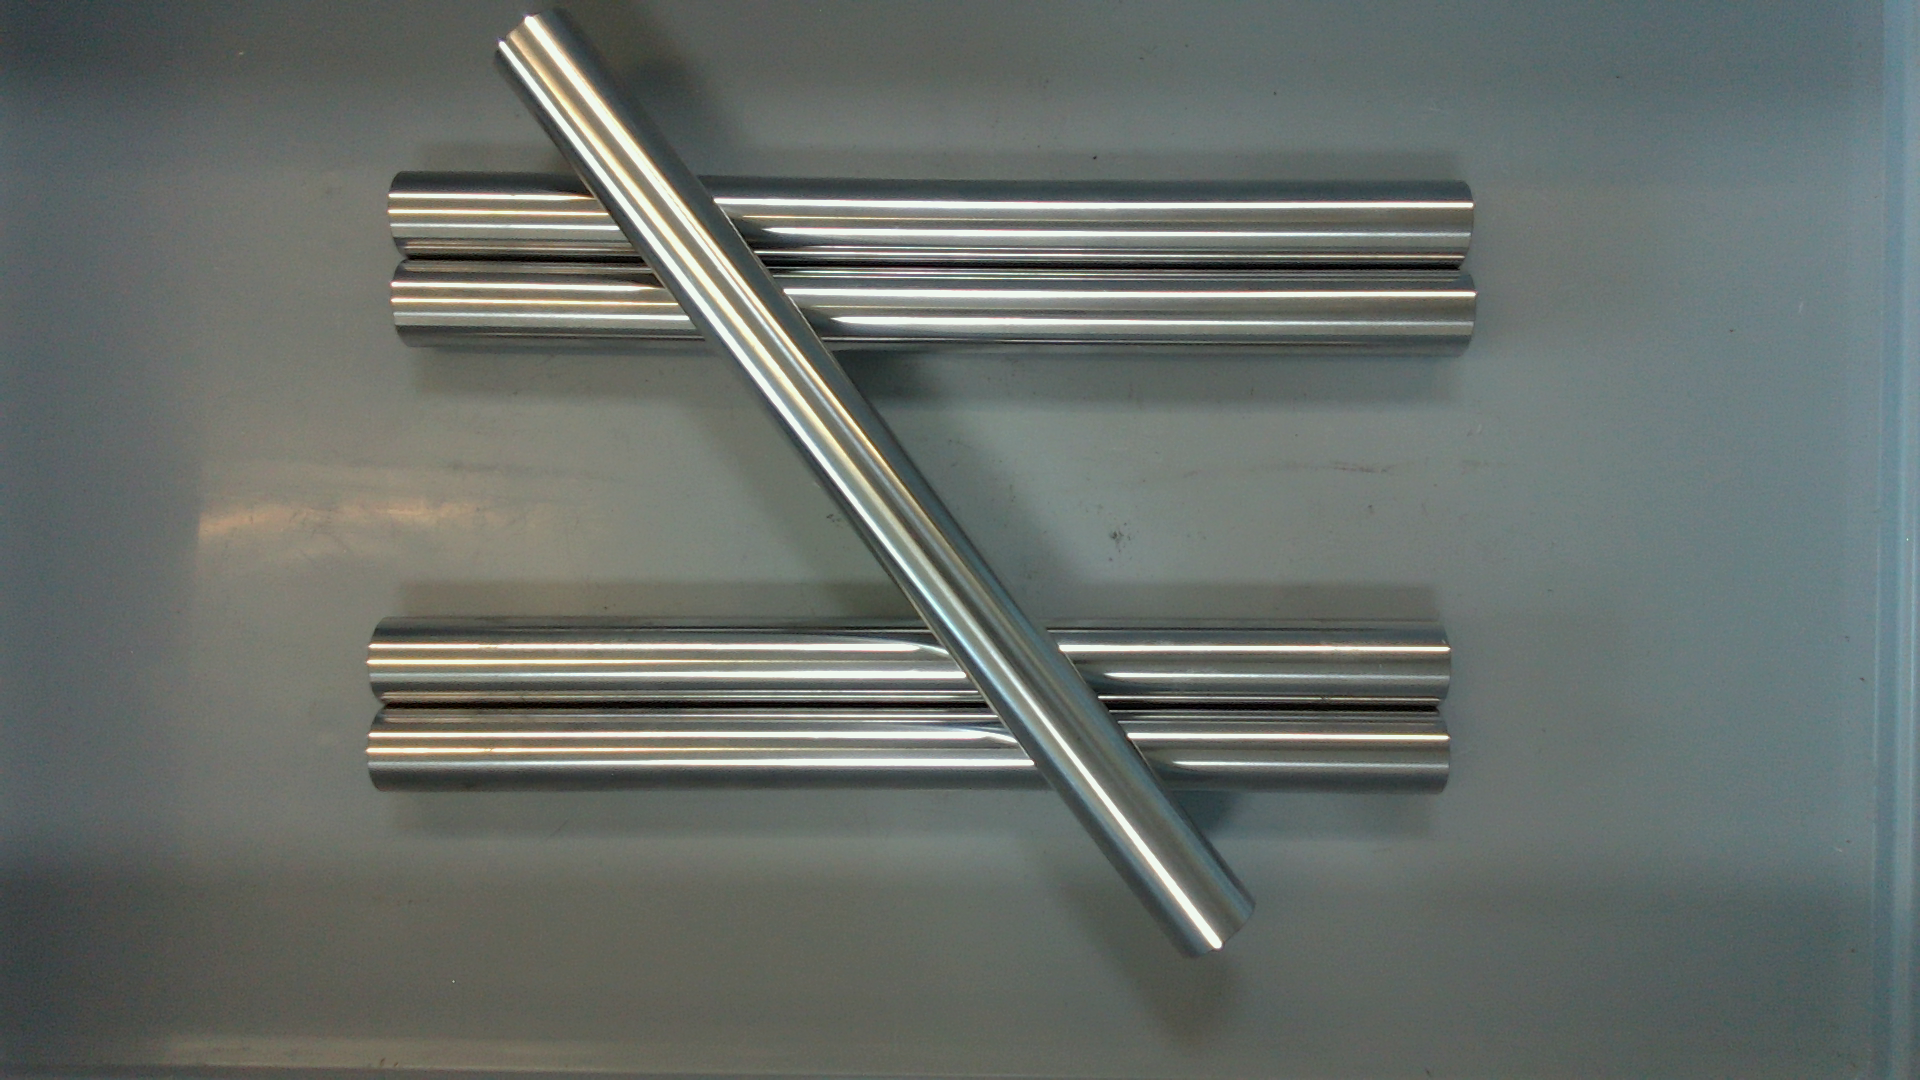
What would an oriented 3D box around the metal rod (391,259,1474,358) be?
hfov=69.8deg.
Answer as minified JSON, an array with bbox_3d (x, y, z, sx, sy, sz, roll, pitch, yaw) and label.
[{"bbox_3d":[-0.007,-0.066,0.393,0.300,0.025,0.025,1,90,0],"label":"metal rod"}]

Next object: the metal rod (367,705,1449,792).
[{"bbox_3d":[-0.014,0.059,0.394,0.300,0.025,0.025,0,90,0],"label":"metal rod"}]

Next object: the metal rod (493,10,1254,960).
[{"bbox_3d":[-0.023,-0.014,0.369,0.025,0.025,0.300,-38,90,0],"label":"metal rod"}]

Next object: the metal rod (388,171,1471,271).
[{"bbox_3d":[-0.008,-0.091,0.393,0.300,0.025,0.025,1,90,0],"label":"metal rod"}]

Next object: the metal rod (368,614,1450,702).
[{"bbox_3d":[-0.014,0.034,0.394,0.300,0.025,0.025,0,90,0],"label":"metal rod"}]
